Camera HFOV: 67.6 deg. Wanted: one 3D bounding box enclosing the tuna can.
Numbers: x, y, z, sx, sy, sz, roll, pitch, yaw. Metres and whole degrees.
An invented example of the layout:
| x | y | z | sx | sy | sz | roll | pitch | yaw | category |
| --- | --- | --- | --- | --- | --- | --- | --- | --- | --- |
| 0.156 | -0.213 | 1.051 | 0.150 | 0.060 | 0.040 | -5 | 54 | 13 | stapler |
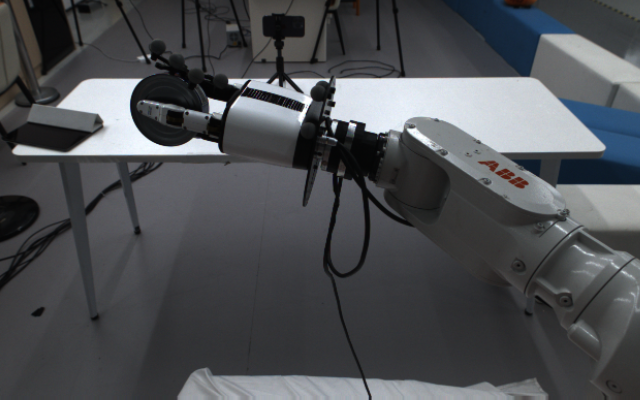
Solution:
| x | y | z | sx | sy | sz | roll | pitch | yaw | category |
| --- | --- | --- | --- | --- | --- | --- | --- | --- | --- |
| -0.178 | -0.109 | 0.580 | 0.085 | 0.085 | 0.034 | 4 | 19 | 3 | tuna can |
